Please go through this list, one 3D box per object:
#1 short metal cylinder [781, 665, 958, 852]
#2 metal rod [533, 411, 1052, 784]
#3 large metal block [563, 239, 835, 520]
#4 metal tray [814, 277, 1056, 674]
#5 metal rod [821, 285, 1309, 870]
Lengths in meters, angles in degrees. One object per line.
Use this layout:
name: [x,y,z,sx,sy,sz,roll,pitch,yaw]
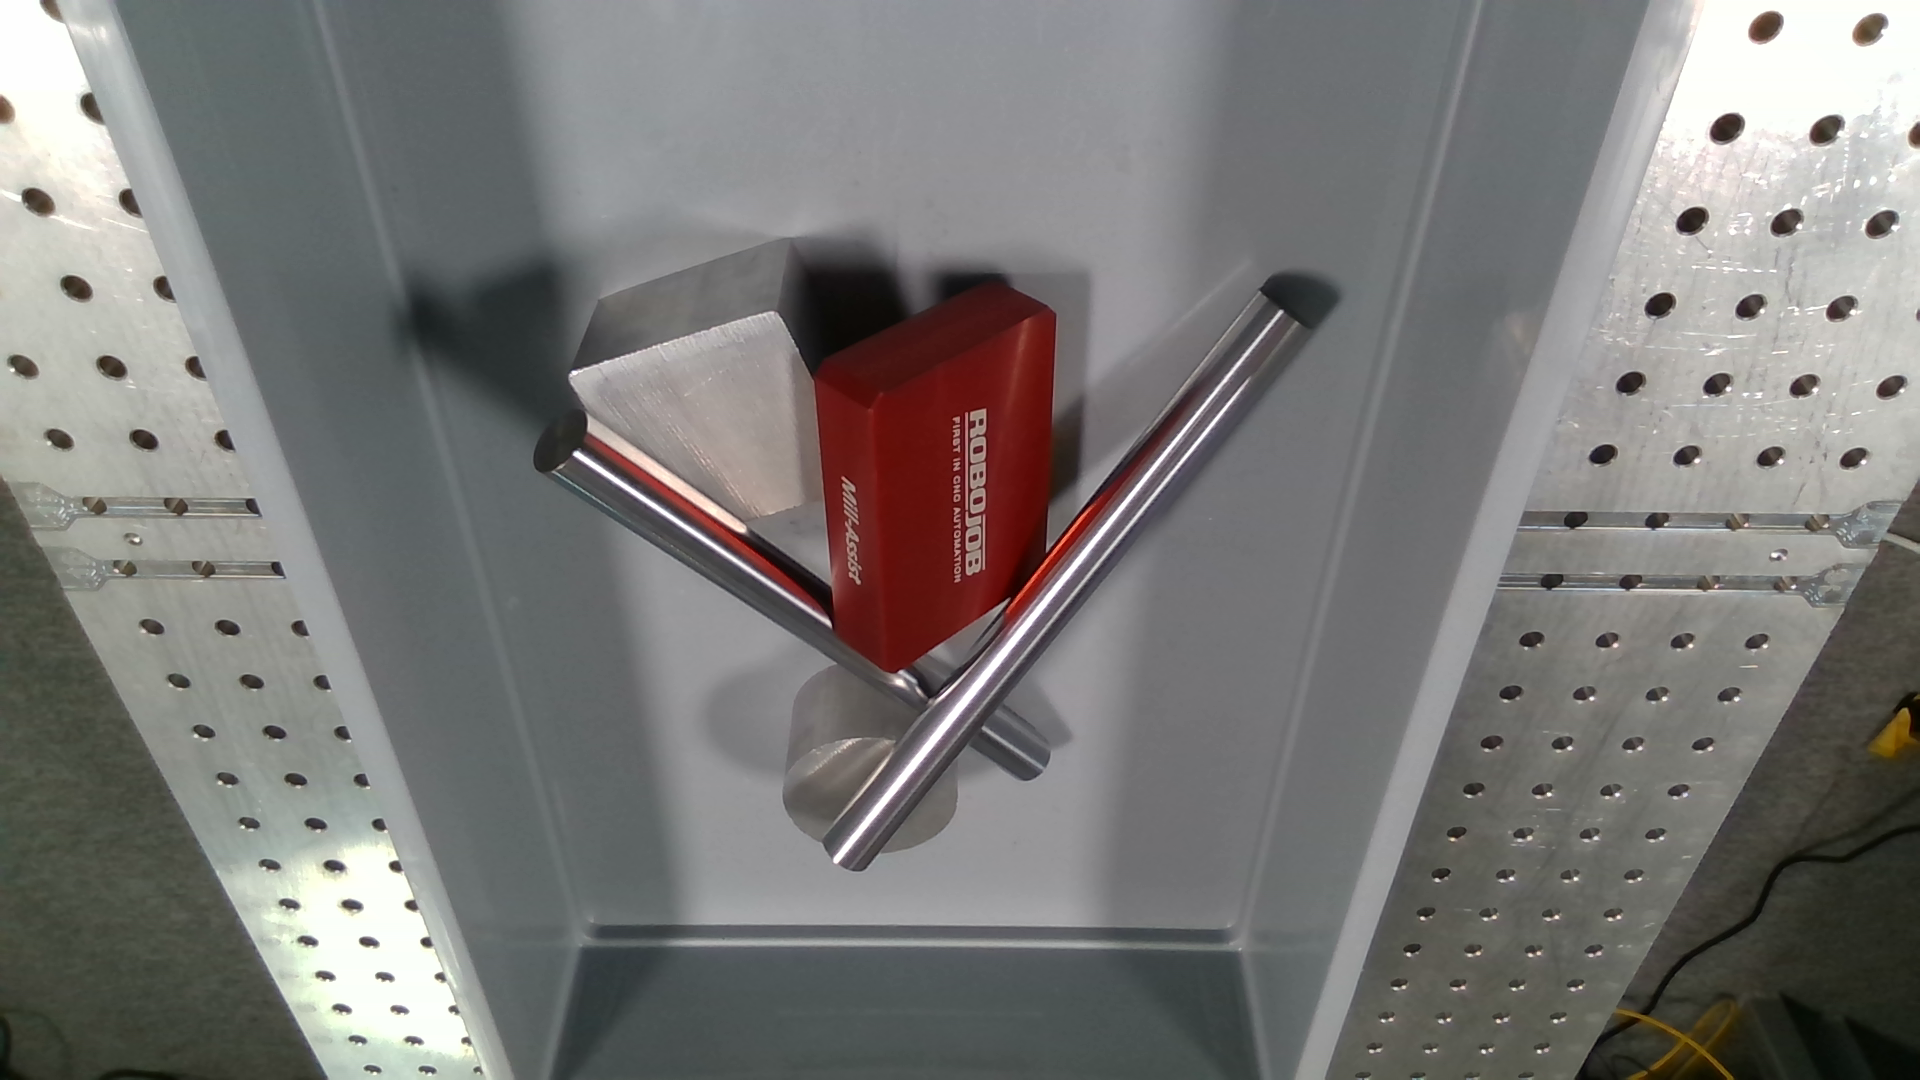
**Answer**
short metal cylinder: [-0.041,0.102,0.646,0.080,0.050,0.080,0,130,0]
metal rod: [-0.050,0.037,0.561,0.025,0.025,0.301,-28,138,21]
large metal block: [-0.087,-0.054,0.512,0.080,0.050,0.080,-15,128,12]
metal tray: [-0.007,-0.023,0.519,0.090,0.030,0.130,-31,138,-33]
metal rod: [0.034,0.025,0.561,0.025,0.025,0.301,29,112,-22]
